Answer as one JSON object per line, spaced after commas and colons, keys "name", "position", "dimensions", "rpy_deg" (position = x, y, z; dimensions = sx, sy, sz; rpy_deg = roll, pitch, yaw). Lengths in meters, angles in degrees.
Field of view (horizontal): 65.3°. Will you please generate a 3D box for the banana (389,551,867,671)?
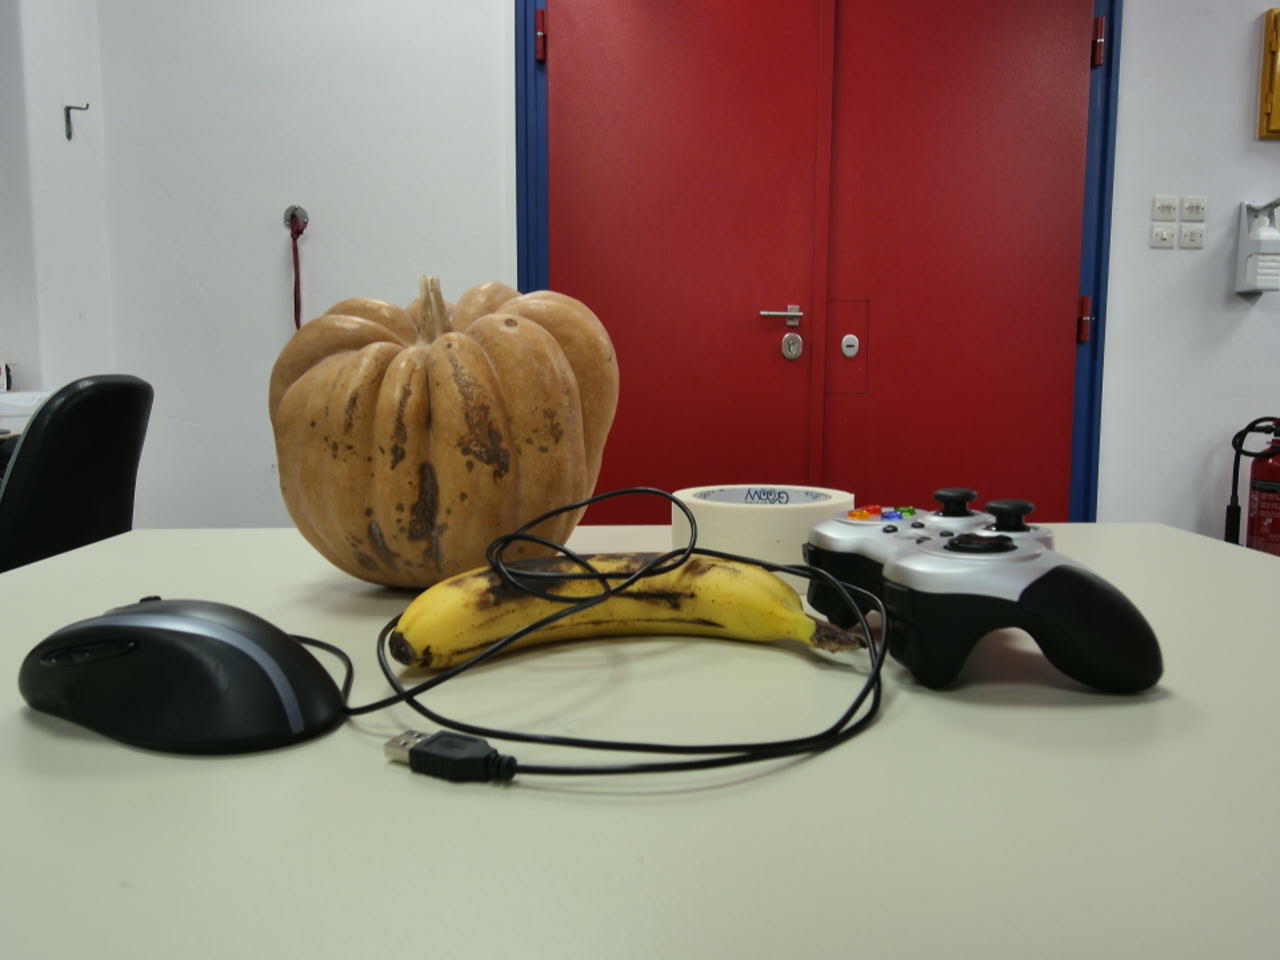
{"name": "banana", "position": [-0.008, 0.056, 0.437], "dimensions": [0.187, 0.039, 0.094], "rpy_deg": [0, 4, -3]}
